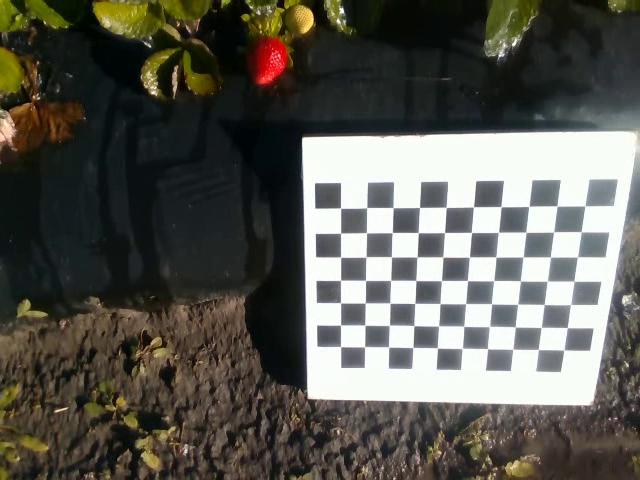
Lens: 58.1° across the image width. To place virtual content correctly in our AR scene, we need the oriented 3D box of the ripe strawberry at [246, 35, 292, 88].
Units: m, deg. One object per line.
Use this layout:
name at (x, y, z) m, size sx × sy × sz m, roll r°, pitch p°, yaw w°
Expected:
ripe strawberry at (-0.037, -0.118, 0.391) m, size 0.039 × 0.039 × 0.040 m, roll -6°, pitch -47°, yaw 17°
